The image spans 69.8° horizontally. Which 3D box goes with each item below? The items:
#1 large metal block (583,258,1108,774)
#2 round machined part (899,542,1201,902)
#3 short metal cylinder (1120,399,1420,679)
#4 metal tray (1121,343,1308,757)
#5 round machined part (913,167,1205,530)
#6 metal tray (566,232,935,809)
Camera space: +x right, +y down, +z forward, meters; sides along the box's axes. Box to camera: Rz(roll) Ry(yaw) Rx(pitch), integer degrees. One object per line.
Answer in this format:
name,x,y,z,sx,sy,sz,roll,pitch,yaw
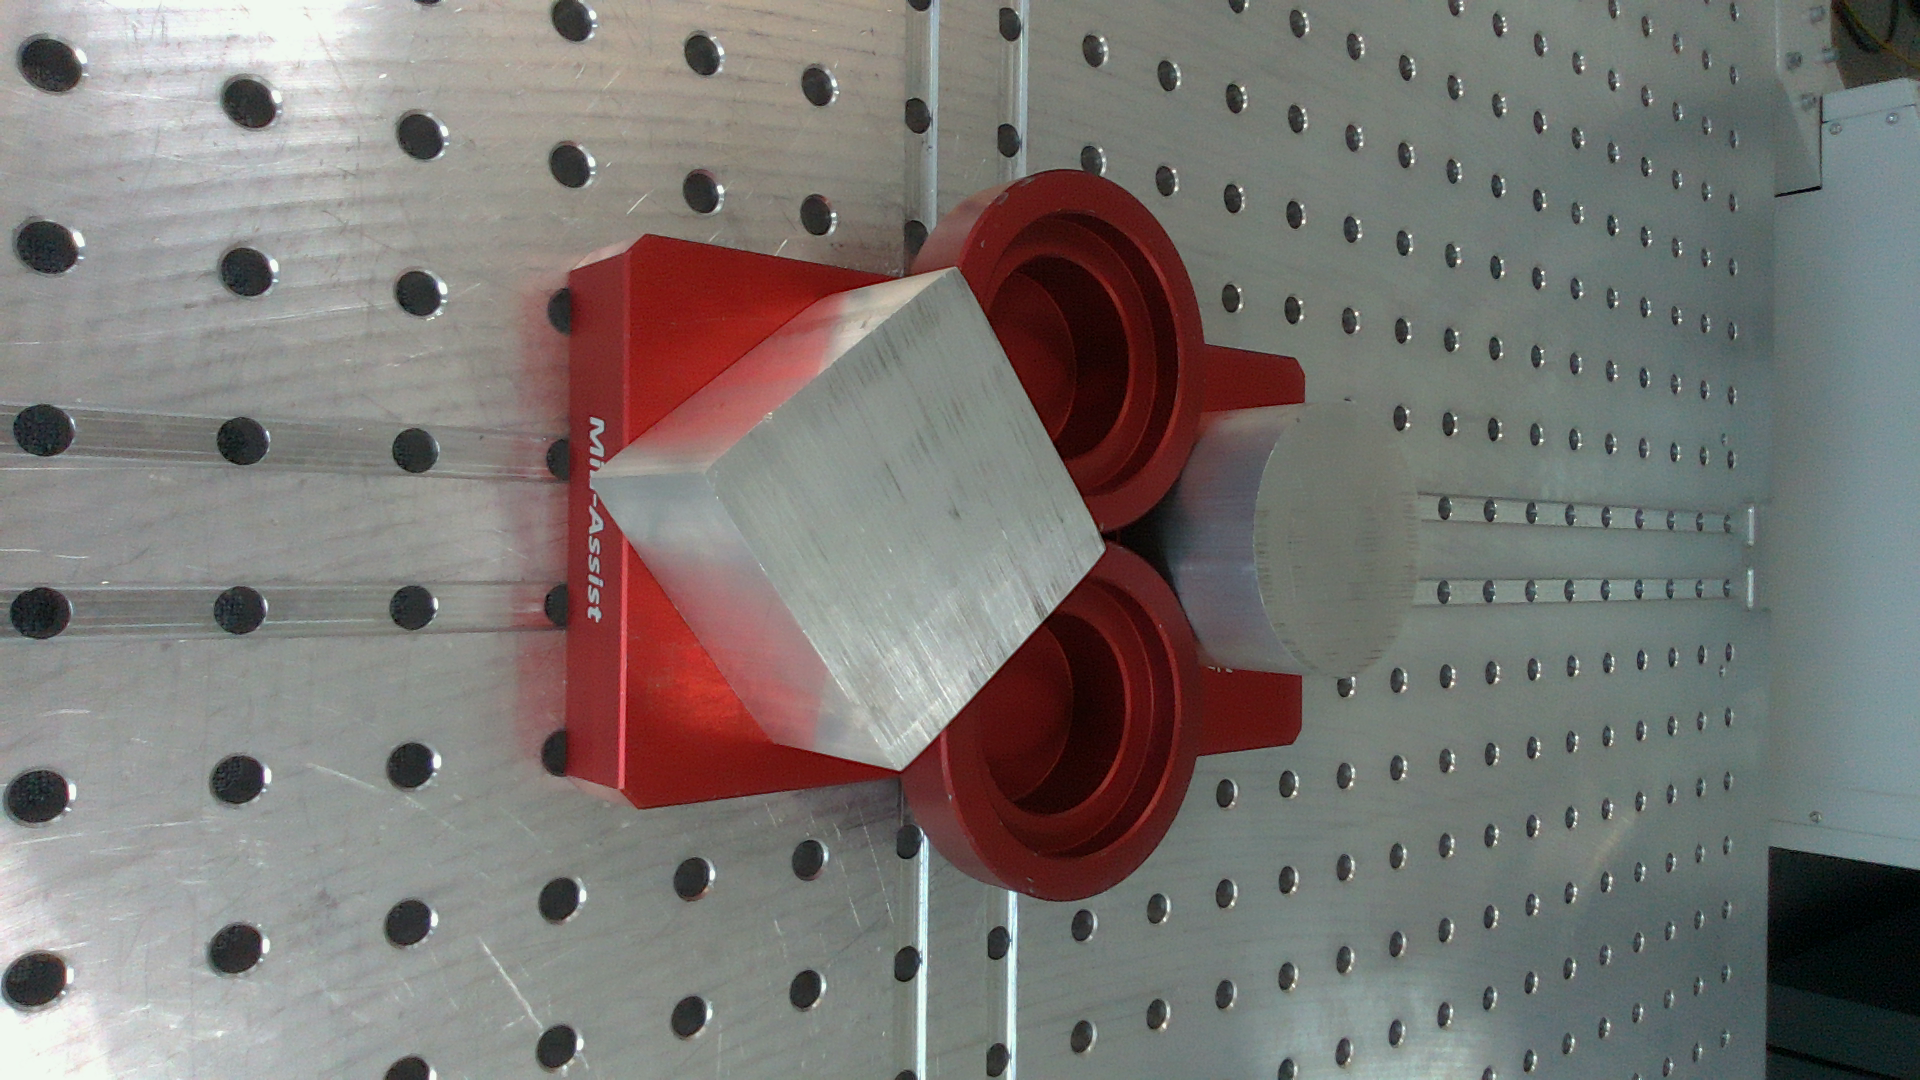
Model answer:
large metal block,-0.023,-0.006,0.317,0.080,0.050,0.080,-44,116,-31
round machined part,0.020,0.048,0.385,0.098,0.042,0.098,0,90,-40
short metal cylinder,0.094,0.000,0.414,0.080,0.050,0.080,0,90,-40
metal tray,0.073,0.003,0.447,0.090,0.030,0.130,1,89,-40
round machined part,0.021,-0.051,0.386,0.098,0.042,0.098,0,90,-40
metal tray,-0.050,-0.004,0.346,0.090,0.030,0.130,1,90,-41
